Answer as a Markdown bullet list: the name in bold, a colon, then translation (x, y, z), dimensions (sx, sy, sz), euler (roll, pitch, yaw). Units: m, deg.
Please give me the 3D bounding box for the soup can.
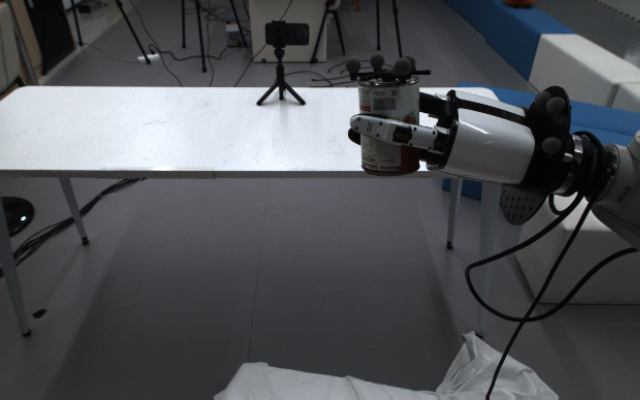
- **soup can**: translation (0.080, -0.086, 0.547), dimensions (0.067, 0.101, 0.067), euler (-4, 21, 2)
